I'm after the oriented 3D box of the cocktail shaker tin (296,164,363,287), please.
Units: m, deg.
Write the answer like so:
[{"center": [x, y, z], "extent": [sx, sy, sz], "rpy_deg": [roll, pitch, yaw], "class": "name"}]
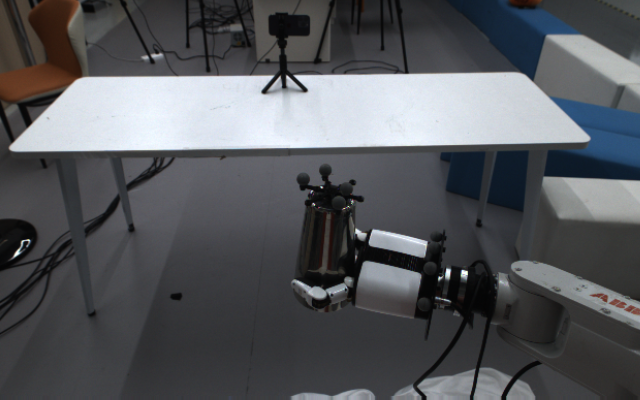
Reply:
[{"center": [0.011, 0.065, 0.690], "extent": [0.093, 0.170, 0.093], "rpy_deg": [2, 34, -2], "class": "cocktail shaker tin"}]
